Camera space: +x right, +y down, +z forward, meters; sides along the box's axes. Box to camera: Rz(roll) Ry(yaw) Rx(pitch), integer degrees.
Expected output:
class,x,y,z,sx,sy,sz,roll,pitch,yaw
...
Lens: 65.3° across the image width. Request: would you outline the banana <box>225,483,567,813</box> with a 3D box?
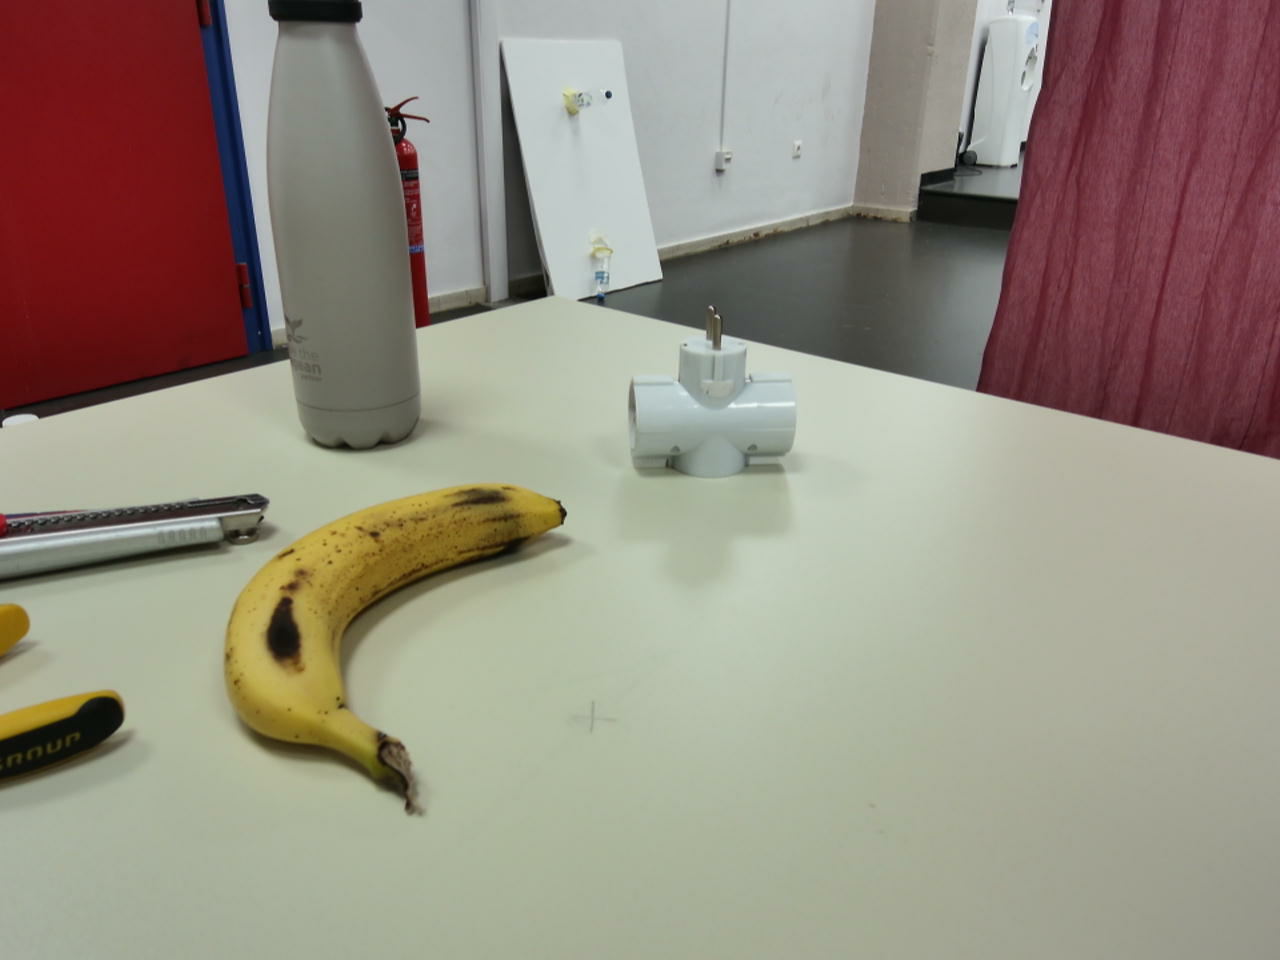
class,x,y,z,sx,sy,sz,roll,pitch,yaw
banana,-0.098,0.044,0.397,0.097,0.038,0.186,6,23,10
